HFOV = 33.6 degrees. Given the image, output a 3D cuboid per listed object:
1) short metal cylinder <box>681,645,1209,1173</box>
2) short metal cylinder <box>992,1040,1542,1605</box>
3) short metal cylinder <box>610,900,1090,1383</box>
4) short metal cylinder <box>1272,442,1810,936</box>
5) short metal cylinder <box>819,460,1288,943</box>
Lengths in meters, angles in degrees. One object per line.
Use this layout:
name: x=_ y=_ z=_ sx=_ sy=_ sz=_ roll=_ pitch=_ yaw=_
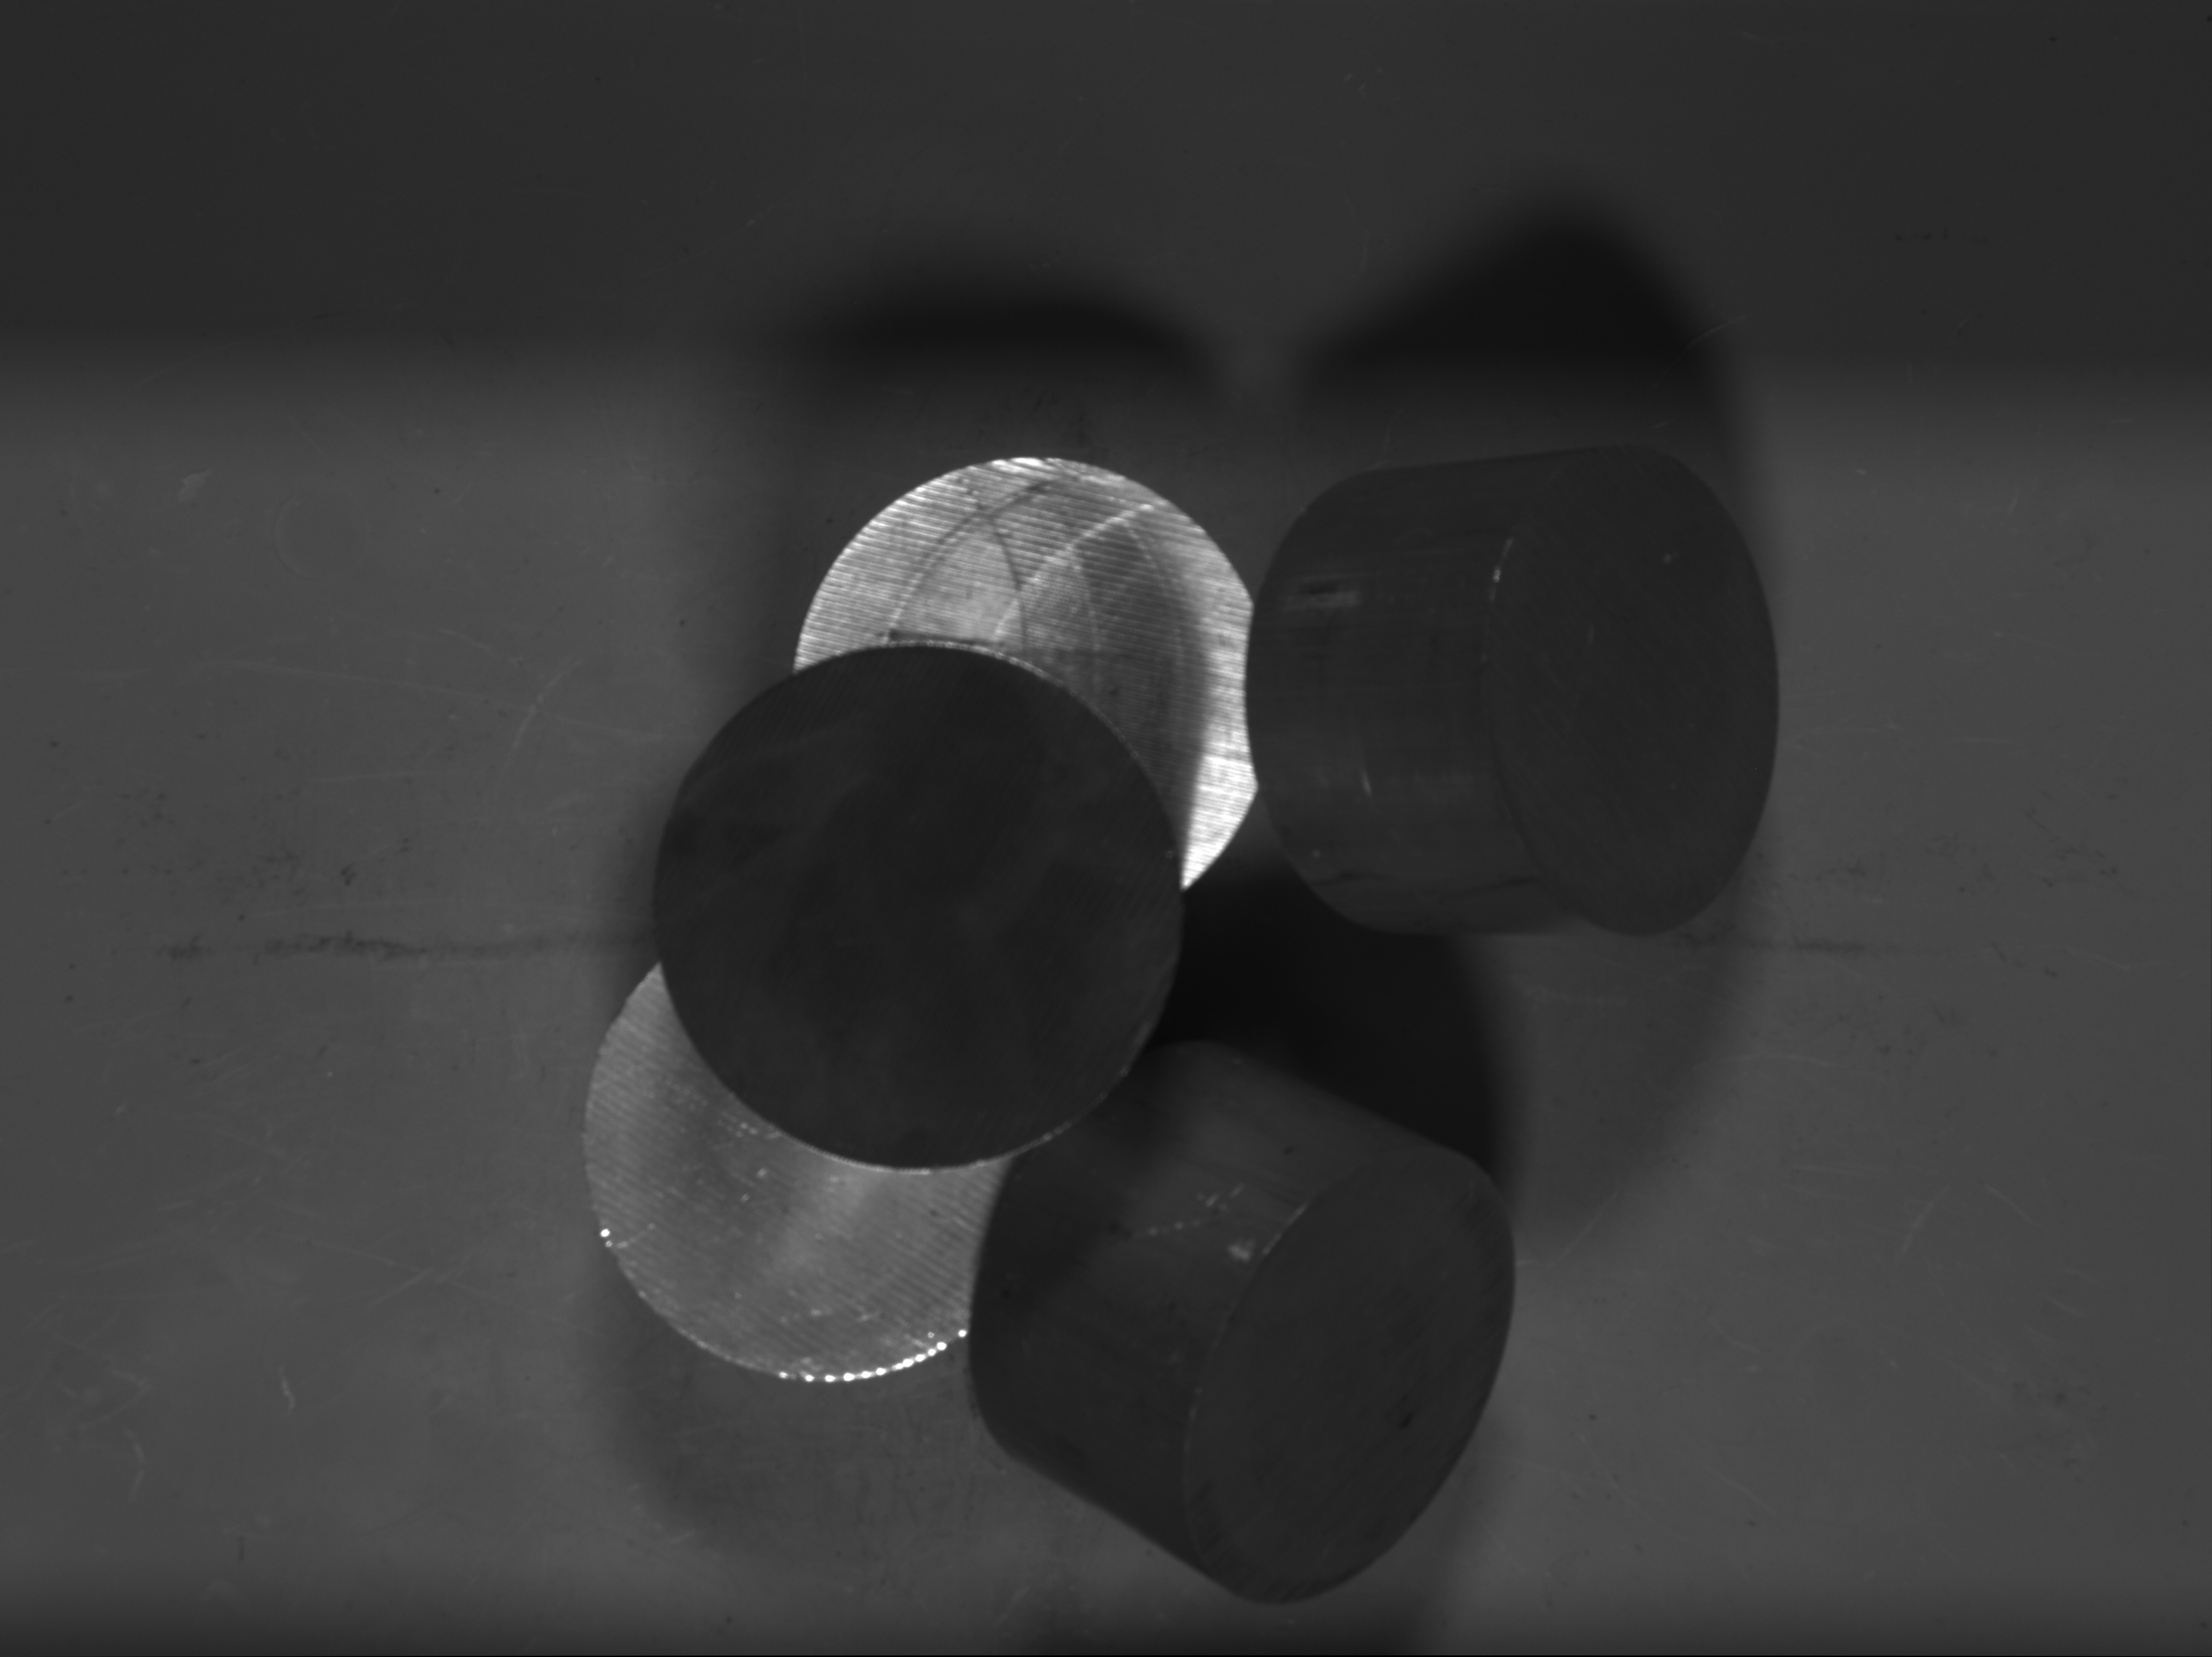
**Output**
short metal cylinder: x=-0.024 y=0.012 z=0.580 sx=0.080 sy=0.050 sz=0.080 roll=0 pitch=90 yaw=0
short metal cylinder: x=0.027 y=0.081 z=0.610 sx=0.050 sy=0.080 sz=0.080 roll=23 pitch=90 yaw=40
short metal cylinder: x=-0.042 y=0.052 z=0.632 sx=0.080 sy=0.050 sz=0.080 roll=0 pitch=90 yaw=0
short metal cylinder: x=0.073 y=-0.022 z=0.612 sx=0.080 sy=0.050 sz=0.080 roll=2 pitch=87 yaw=-44
short metal cylinder: x=-0.008 y=-0.021 z=0.631 sx=0.080 sy=0.050 sz=0.080 roll=0 pitch=90 yaw=0
